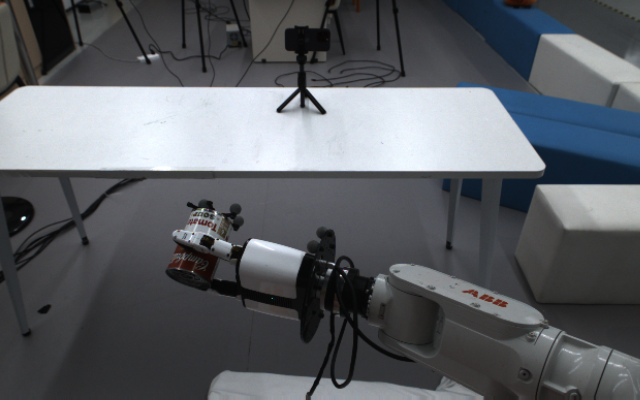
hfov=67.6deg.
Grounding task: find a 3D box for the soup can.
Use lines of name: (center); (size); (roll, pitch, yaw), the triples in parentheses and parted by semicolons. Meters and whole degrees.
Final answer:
soup can: (-0.176, 0.074, 0.717); (0.067, 0.067, 0.101); (9, 60, 10)
